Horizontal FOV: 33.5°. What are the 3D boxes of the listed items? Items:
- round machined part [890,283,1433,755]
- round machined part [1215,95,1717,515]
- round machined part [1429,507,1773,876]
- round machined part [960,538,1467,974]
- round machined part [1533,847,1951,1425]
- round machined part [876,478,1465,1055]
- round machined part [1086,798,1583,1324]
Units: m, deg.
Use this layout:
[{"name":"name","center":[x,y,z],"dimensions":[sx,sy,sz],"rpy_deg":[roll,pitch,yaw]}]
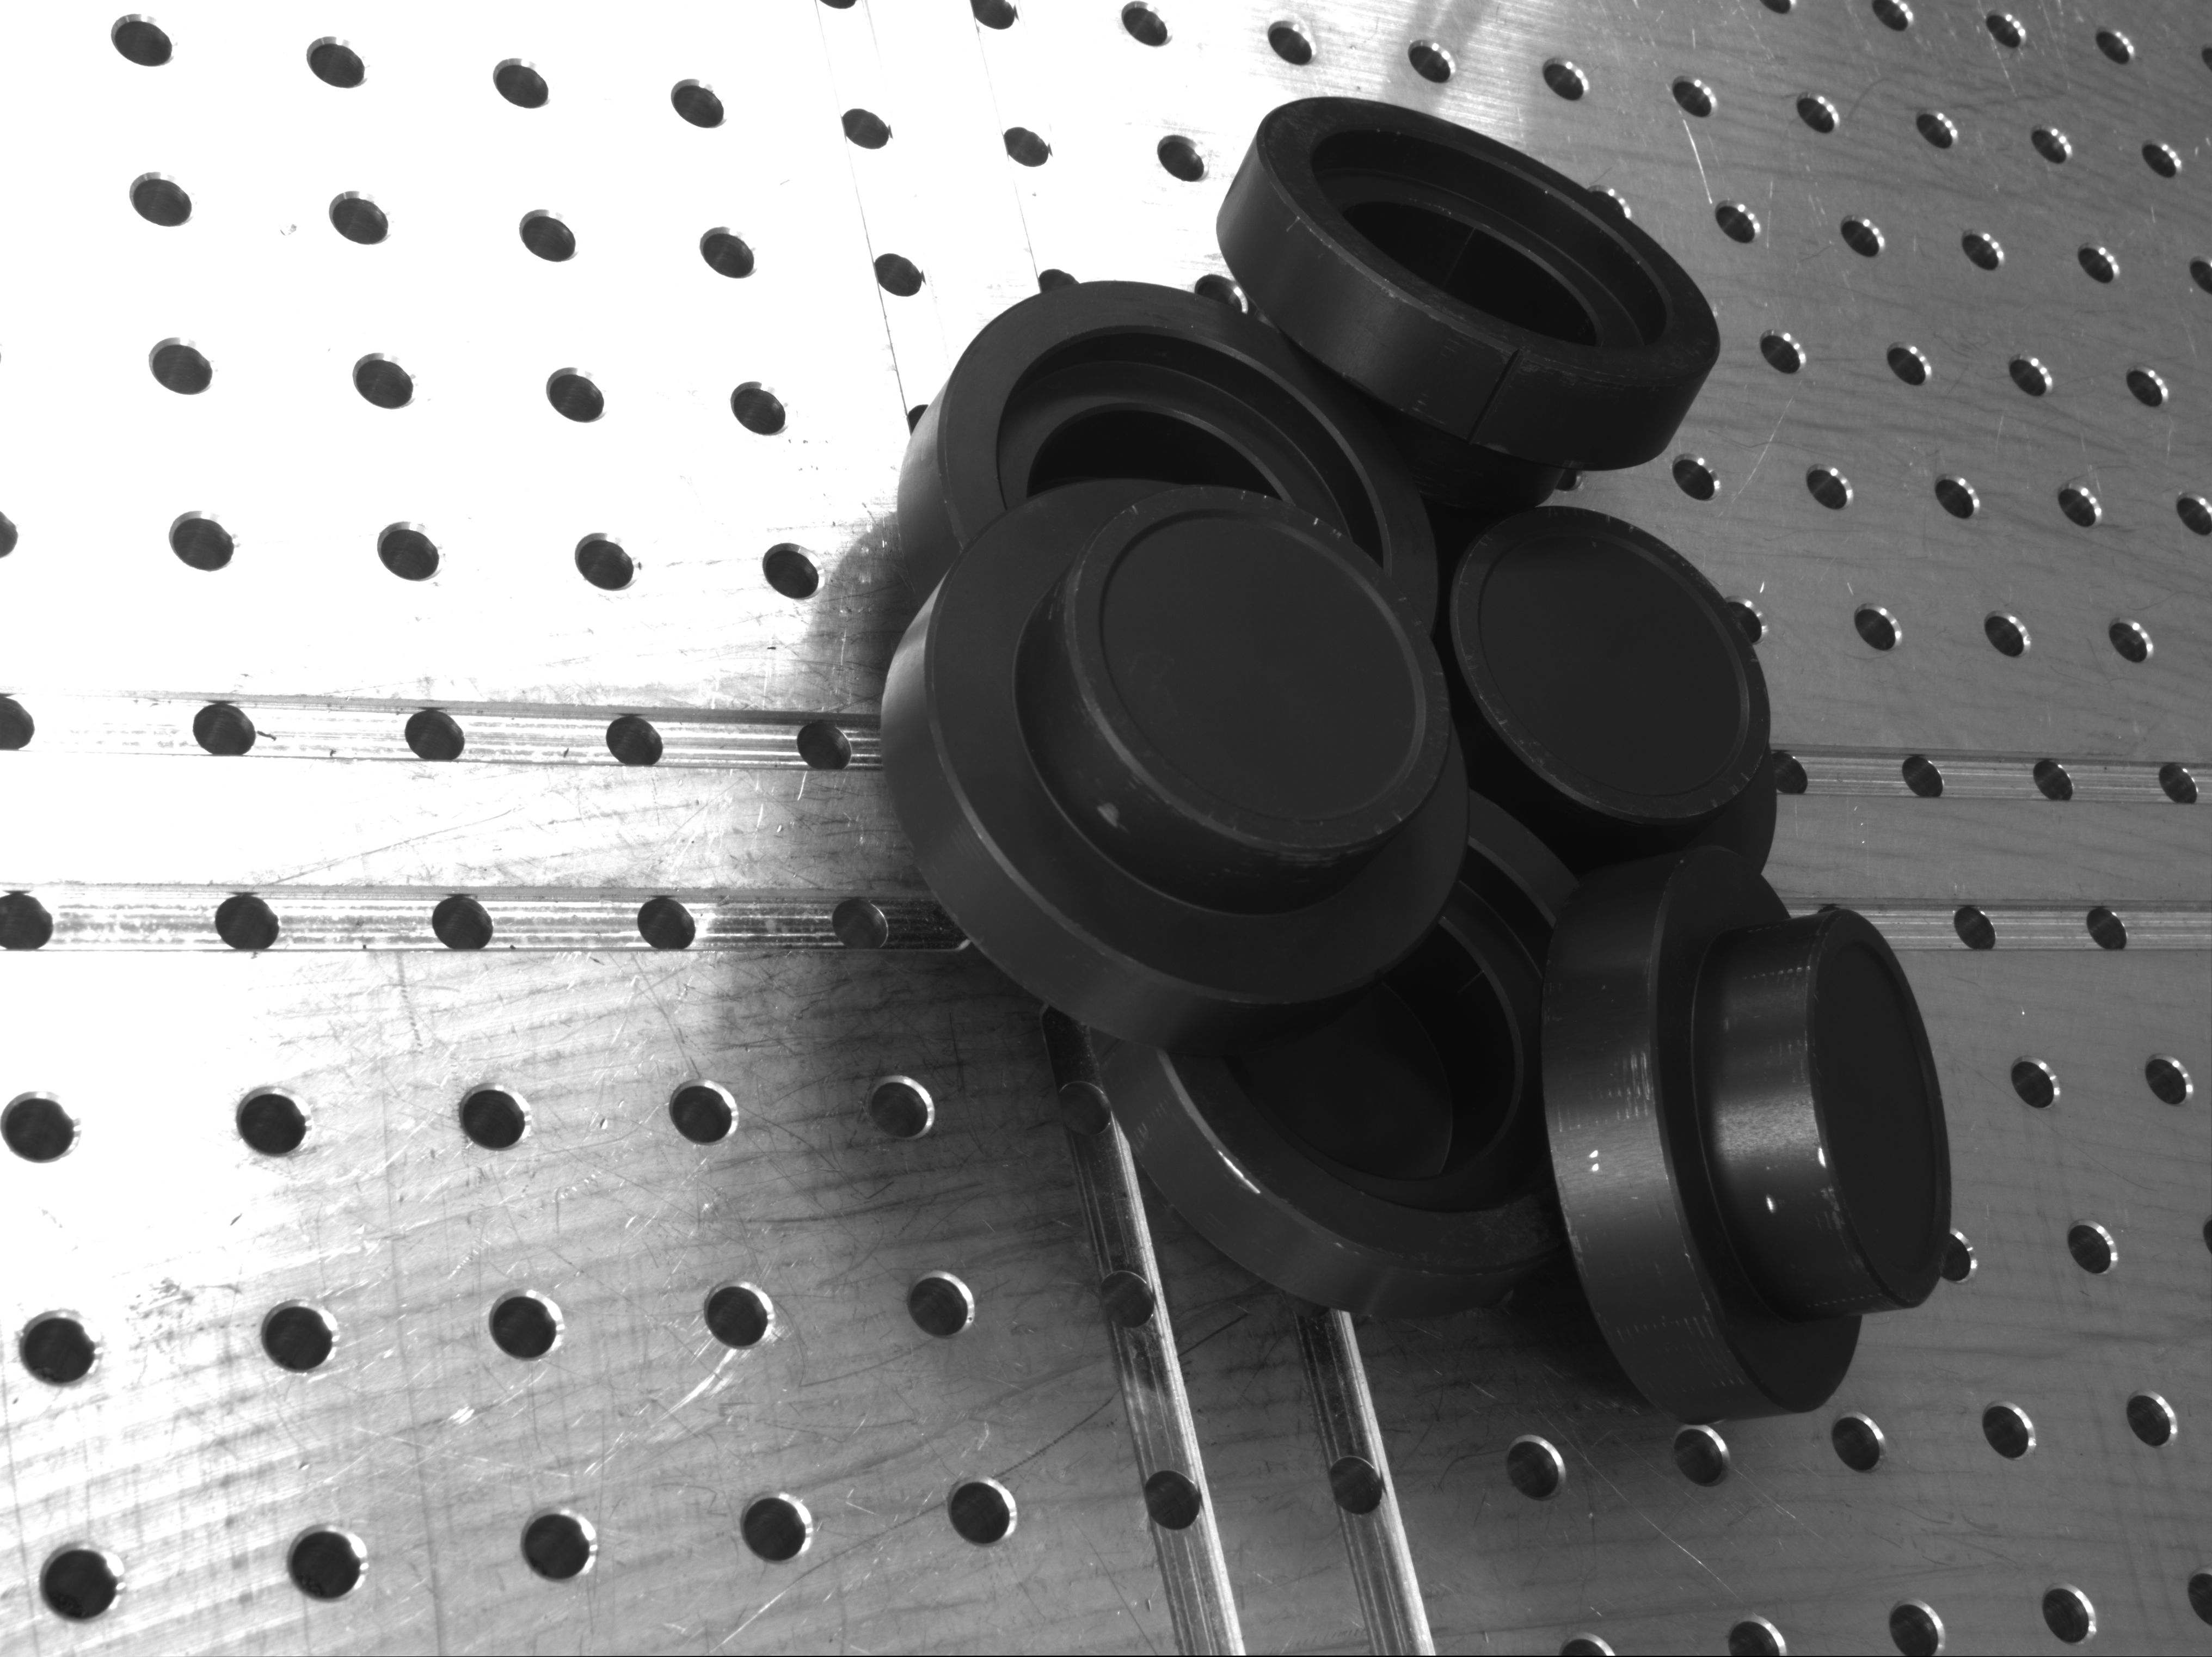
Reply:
[{"name":"round machined part","center":[0.006,-0.047,0.664],"dimensions":[0.098,0.042,0.098],"rpy_deg":[13,56,-21]},{"name":"round machined part","center":[0.065,-0.098,0.711],"dimensions":[0.098,0.042,0.098],"rpy_deg":[20,32,-13]},{"name":"round machined part","center":[0.084,-0.021,0.689],"dimensions":[0.098,0.042,0.098],"rpy_deg":[13,56,-21]},{"name":"round machined part","center":[0.010,-0.008,0.642],"dimensions":[0.098,0.042,0.098],"rpy_deg":[13,56,-21]},{"name":"round machined part","center":[0.113,0.051,0.629],"dimensions":[0.098,0.042,0.098],"rpy_deg":[32,52,-52]},{"name":"round machined part","center":[0.016,-0.016,0.595],"dimensions":[0.098,0.042,0.098],"rpy_deg":[13,56,-21]},{"name":"round machined part","center":[0.041,0.039,0.629],"dimensions":[0.098,0.042,0.098],"rpy_deg":[13,56,-21]}]
